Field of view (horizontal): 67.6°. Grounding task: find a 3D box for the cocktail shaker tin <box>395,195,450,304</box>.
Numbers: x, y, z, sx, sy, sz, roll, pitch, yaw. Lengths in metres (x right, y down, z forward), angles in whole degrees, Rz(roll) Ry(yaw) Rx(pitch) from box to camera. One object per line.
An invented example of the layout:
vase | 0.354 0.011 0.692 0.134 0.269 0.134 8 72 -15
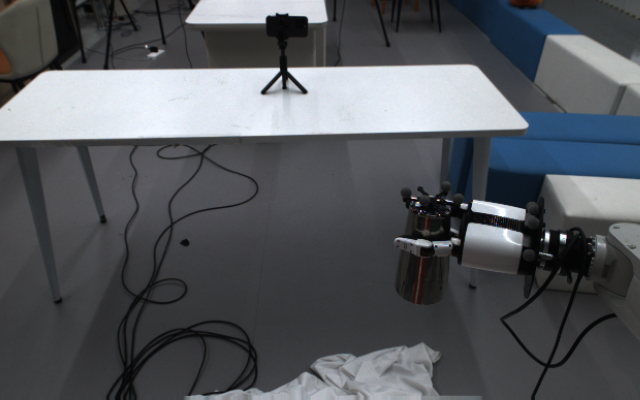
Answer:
cocktail shaker tin | 0.180 0.077 0.814 0.093 0.170 0.093 -1 32 1
